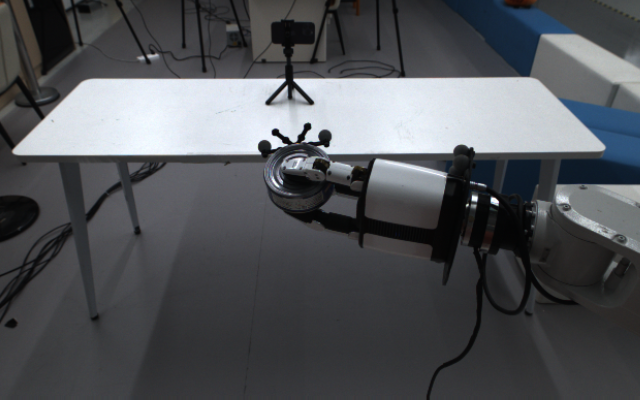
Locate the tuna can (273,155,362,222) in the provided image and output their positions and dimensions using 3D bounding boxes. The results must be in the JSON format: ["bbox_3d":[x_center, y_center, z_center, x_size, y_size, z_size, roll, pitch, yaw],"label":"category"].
[{"bbox_3d":[-0.021,-0.022,0.595,0.085,0.034,0.085,-3,58,5],"label":"tuna can"}]
